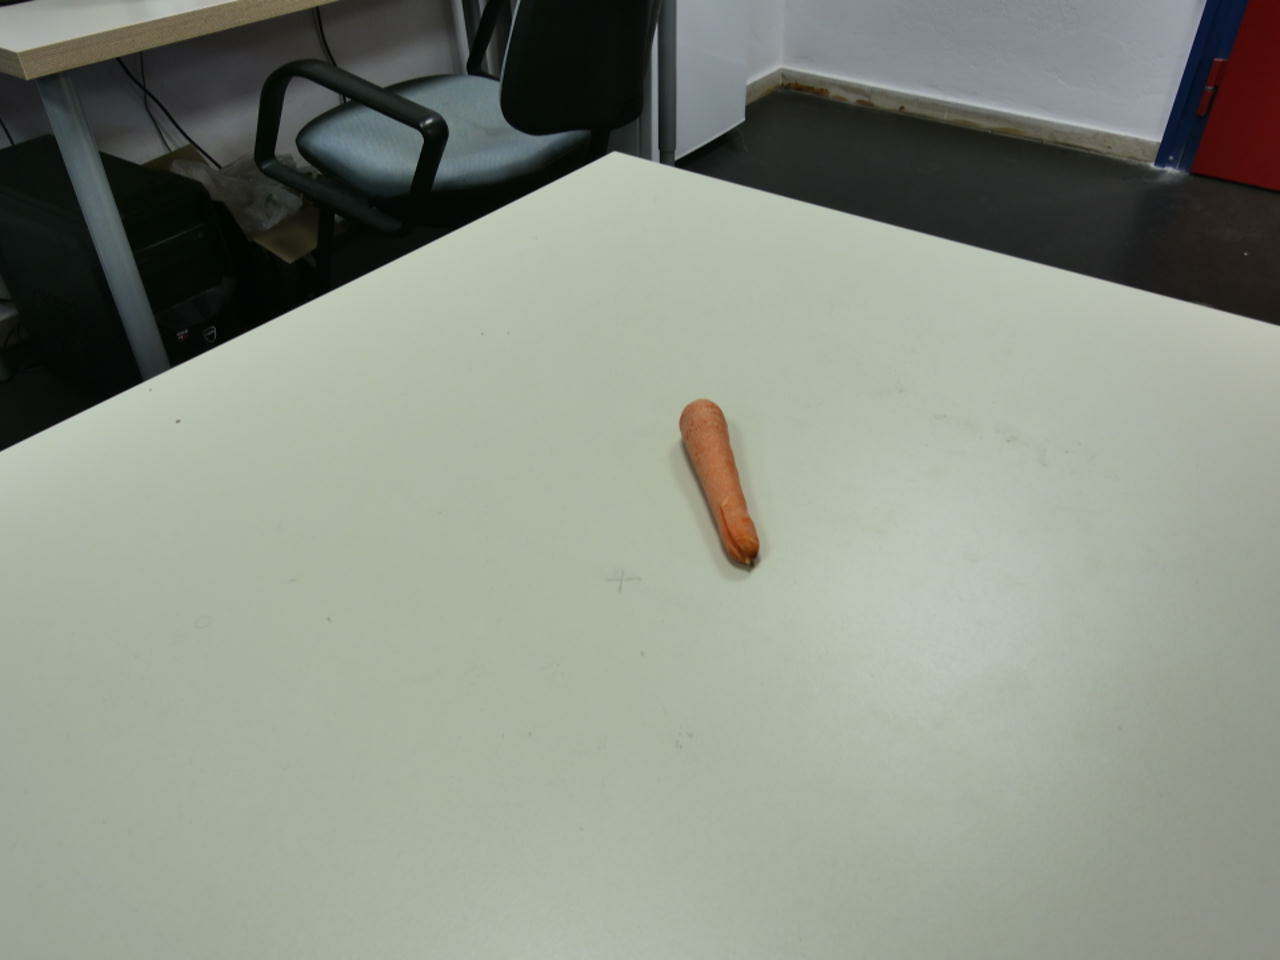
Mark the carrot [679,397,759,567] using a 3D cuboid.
[{"bbox_3d":[0.045,-0.003,0.574,0.030,0.032,0.136,-5,37,-6],"label":"carrot"}]
